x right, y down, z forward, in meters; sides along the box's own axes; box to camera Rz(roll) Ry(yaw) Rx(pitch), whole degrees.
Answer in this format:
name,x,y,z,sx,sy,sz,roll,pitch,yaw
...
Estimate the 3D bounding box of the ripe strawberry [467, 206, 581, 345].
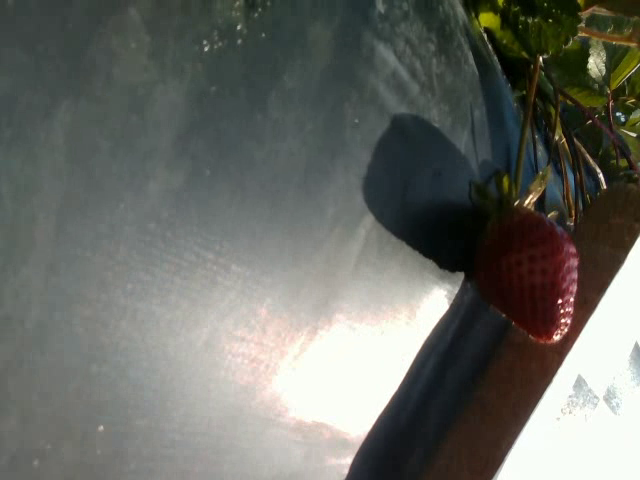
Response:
name,x,y,z,sx,sy,sz,roll,pitch,yaw
ripe strawberry,0.048,0.011,0.144,0.033,0.038,0.034,-29,-45,20
